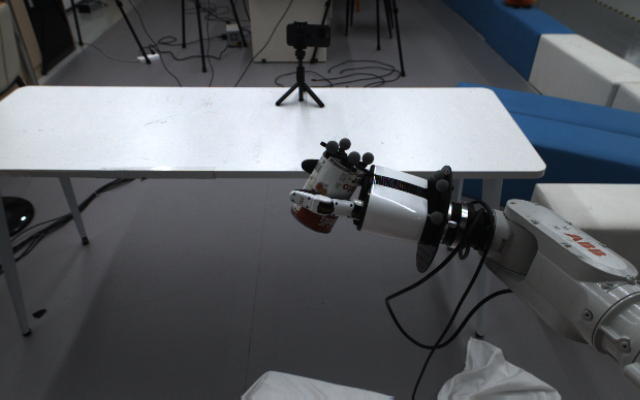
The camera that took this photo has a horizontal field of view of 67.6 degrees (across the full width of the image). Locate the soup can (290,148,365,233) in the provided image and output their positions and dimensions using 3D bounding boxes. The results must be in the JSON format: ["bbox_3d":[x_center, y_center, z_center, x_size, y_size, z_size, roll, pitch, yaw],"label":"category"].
[{"bbox_3d":[0.011,-0.012,0.695,0.067,0.101,0.067,27,18,-10],"label":"soup can"}]
